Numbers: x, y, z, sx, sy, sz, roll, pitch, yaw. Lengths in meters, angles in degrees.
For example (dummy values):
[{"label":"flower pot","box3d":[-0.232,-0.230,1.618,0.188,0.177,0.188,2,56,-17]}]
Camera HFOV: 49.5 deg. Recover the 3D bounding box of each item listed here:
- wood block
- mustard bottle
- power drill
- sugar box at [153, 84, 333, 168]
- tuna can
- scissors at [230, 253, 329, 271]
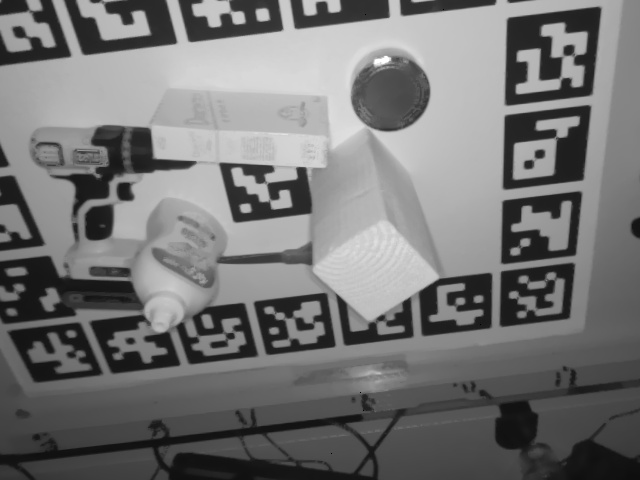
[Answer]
[{"label":"wood block","box3d":[0.061,-0.025,0.729,0.090,0.207,0.090,-32,116,16]},{"label":"mustard bottle","box3d":[-0.153,0.028,0.755,0.096,0.193,0.058,39,112,-21]},{"label":"power drill","box3d":[-0.208,-0.040,0.780,0.185,0.057,0.185,5,113,-6]},{"label":"sugar box","box3d":[-0.075,-0.121,0.721,0.177,0.093,0.045,5,124,-4]},{"label":"tuna can","box3d":[0.088,-0.159,0.736,0.086,0.034,0.085,-1,120,-1]},{"label":"scissors","box3d":[-0.010,0.024,0.853,0.203,0.016,0.087,-5,125,-1]}]
